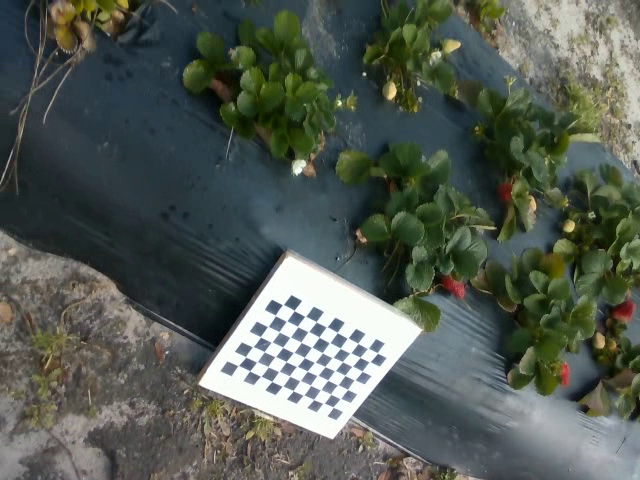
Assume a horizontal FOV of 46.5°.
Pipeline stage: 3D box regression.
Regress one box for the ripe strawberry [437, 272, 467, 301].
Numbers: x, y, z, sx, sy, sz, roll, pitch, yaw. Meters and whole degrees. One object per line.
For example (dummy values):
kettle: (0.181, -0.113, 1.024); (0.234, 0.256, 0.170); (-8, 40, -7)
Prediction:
ripe strawberry: (0.241, 0.077, 1.277); (0.050, 0.064, 0.043); (-25, 30, -5)
